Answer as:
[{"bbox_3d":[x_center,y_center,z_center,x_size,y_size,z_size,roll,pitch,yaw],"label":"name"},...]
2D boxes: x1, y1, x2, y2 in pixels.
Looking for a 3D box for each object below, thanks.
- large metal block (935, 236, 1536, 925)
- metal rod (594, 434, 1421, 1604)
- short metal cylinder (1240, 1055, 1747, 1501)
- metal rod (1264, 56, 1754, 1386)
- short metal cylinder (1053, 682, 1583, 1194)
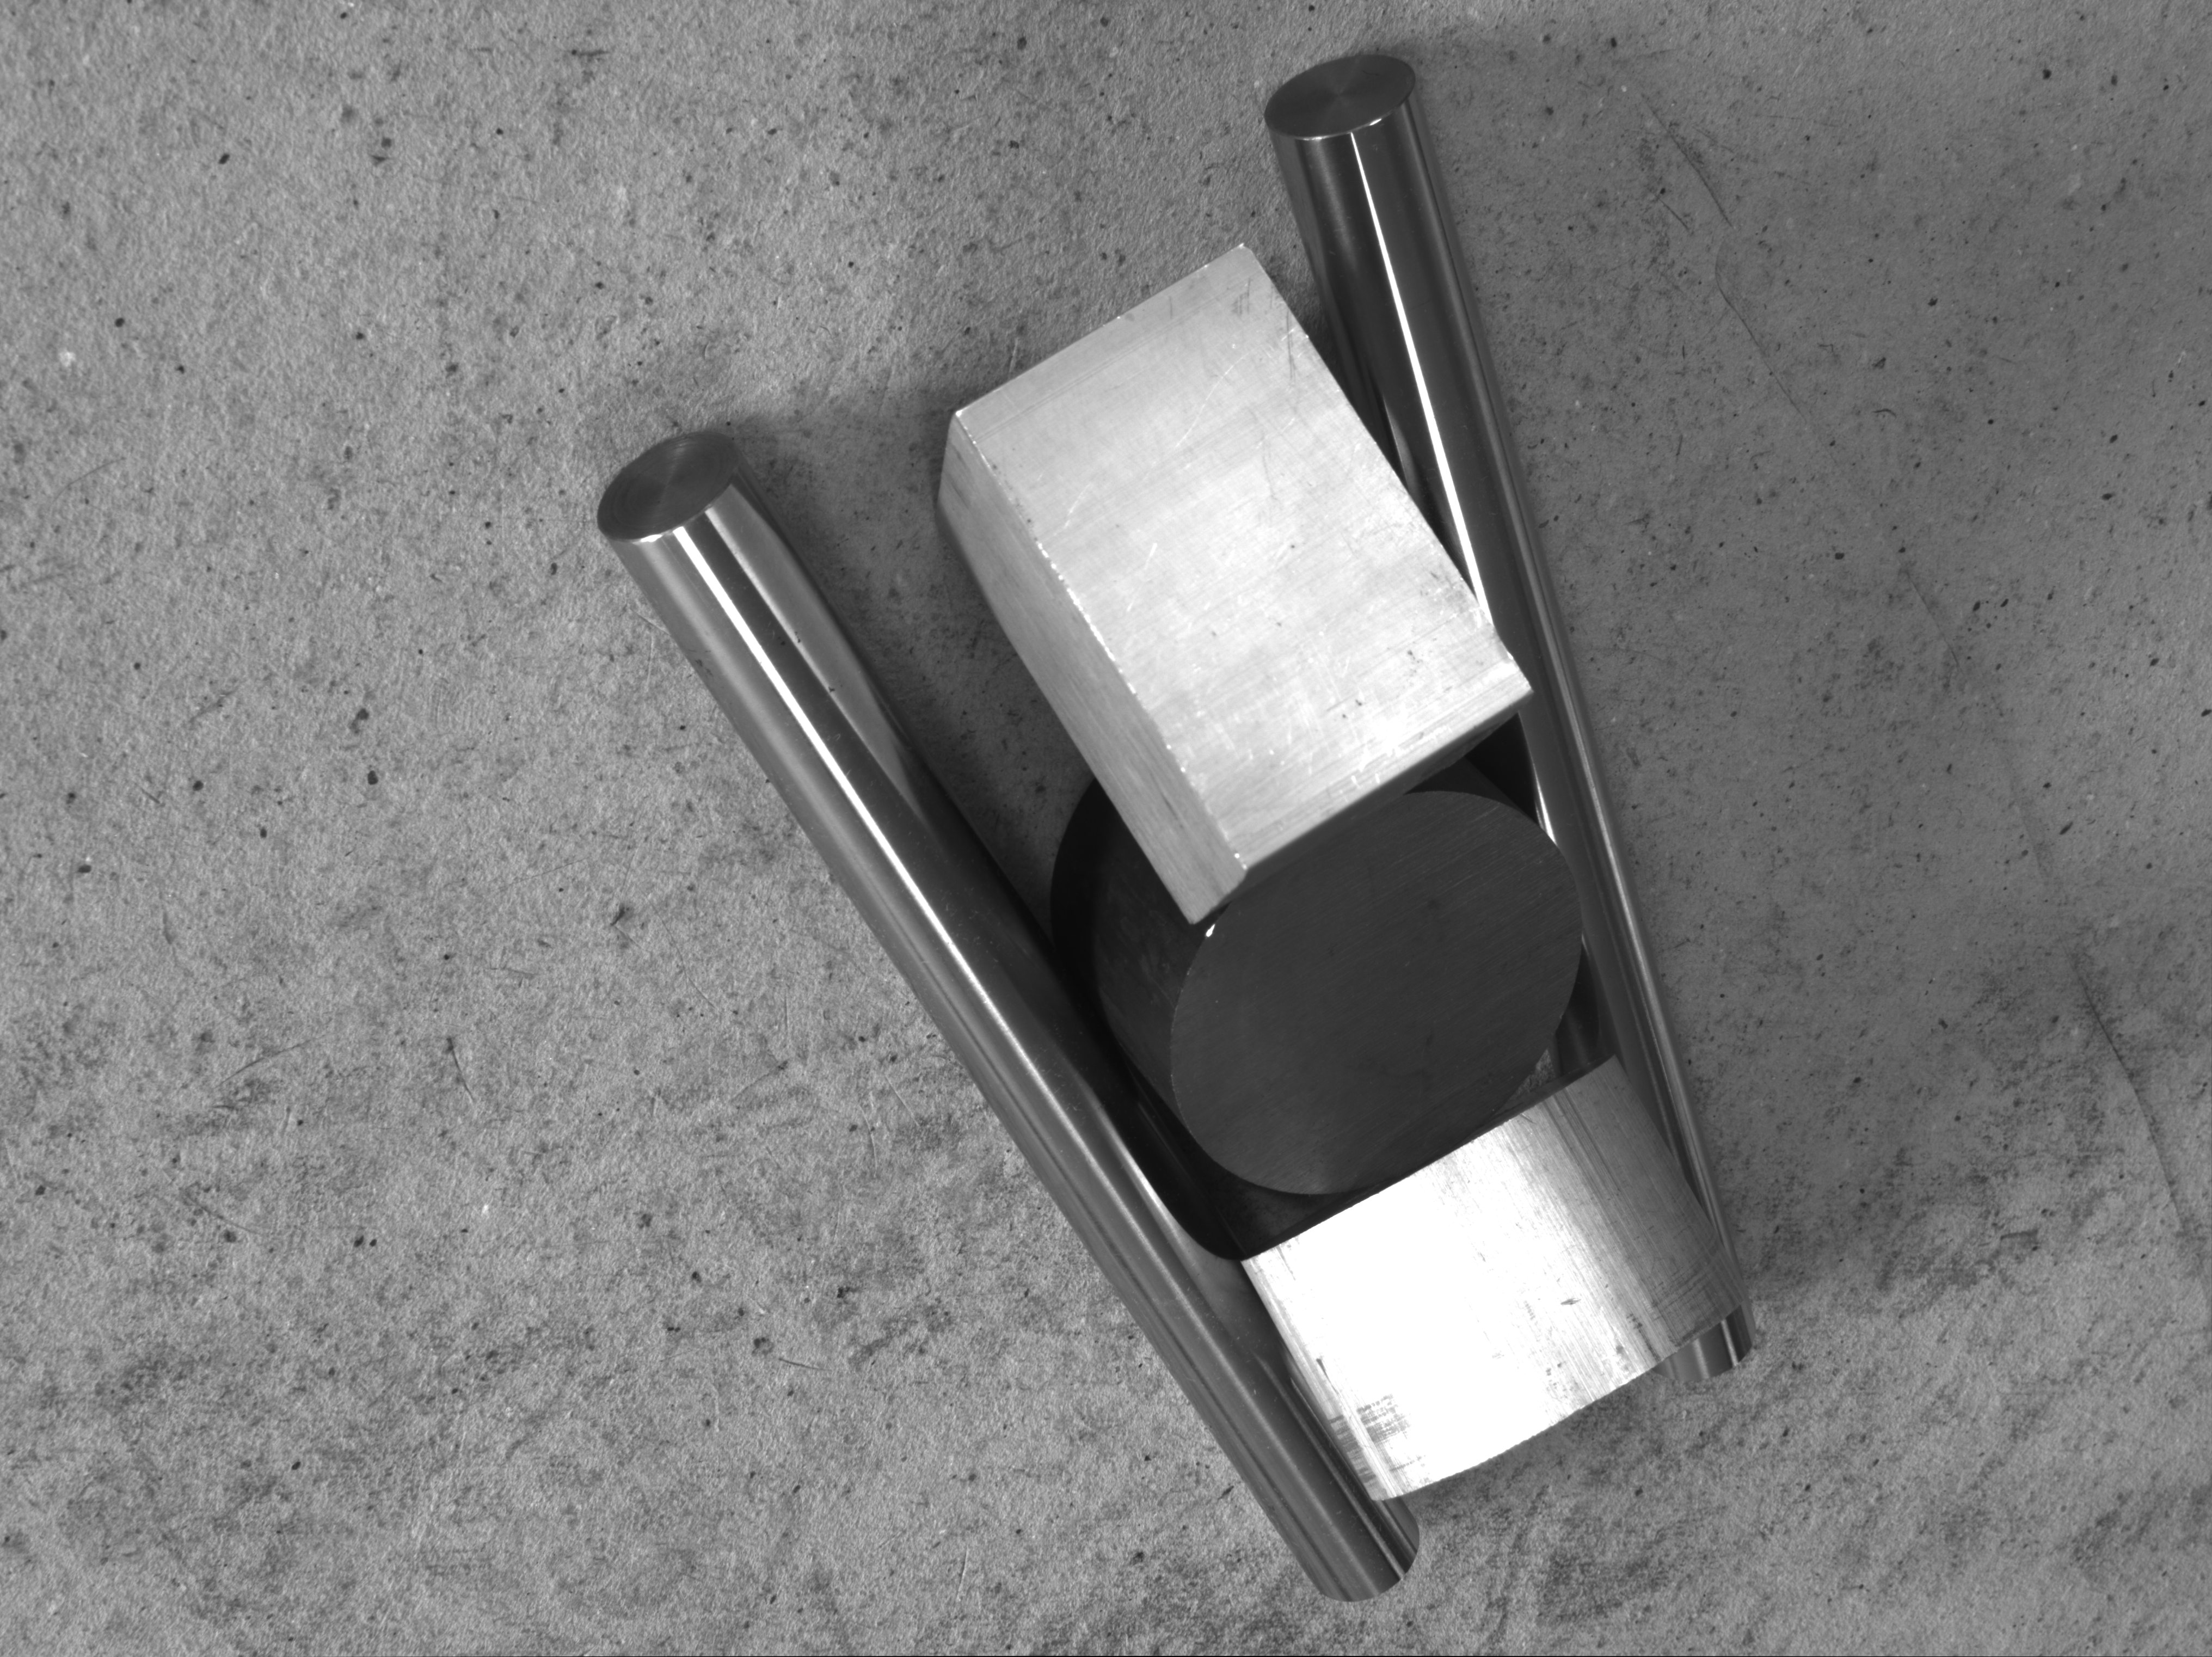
[{"bbox_3d":[0.017,-0.035,0.571,0.050,0.080,0.080,-32,87,-8],"label":"large metal block"},{"bbox_3d":[-0.008,0.048,0.662,0.025,0.025,0.301,-35,129,-5],"label":"metal rod"},{"bbox_3d":[0.072,0.083,0.684,0.080,0.080,0.050,-28,85,-11],"label":"short metal cylinder"},{"bbox_3d":[0.080,-0.005,0.677,0.025,0.025,0.301,-29,128,-10],"label":"metal rod"},{"bbox_3d":[0.037,0.018,0.652,0.080,0.050,0.080,-13,124,-21],"label":"short metal cylinder"}]
